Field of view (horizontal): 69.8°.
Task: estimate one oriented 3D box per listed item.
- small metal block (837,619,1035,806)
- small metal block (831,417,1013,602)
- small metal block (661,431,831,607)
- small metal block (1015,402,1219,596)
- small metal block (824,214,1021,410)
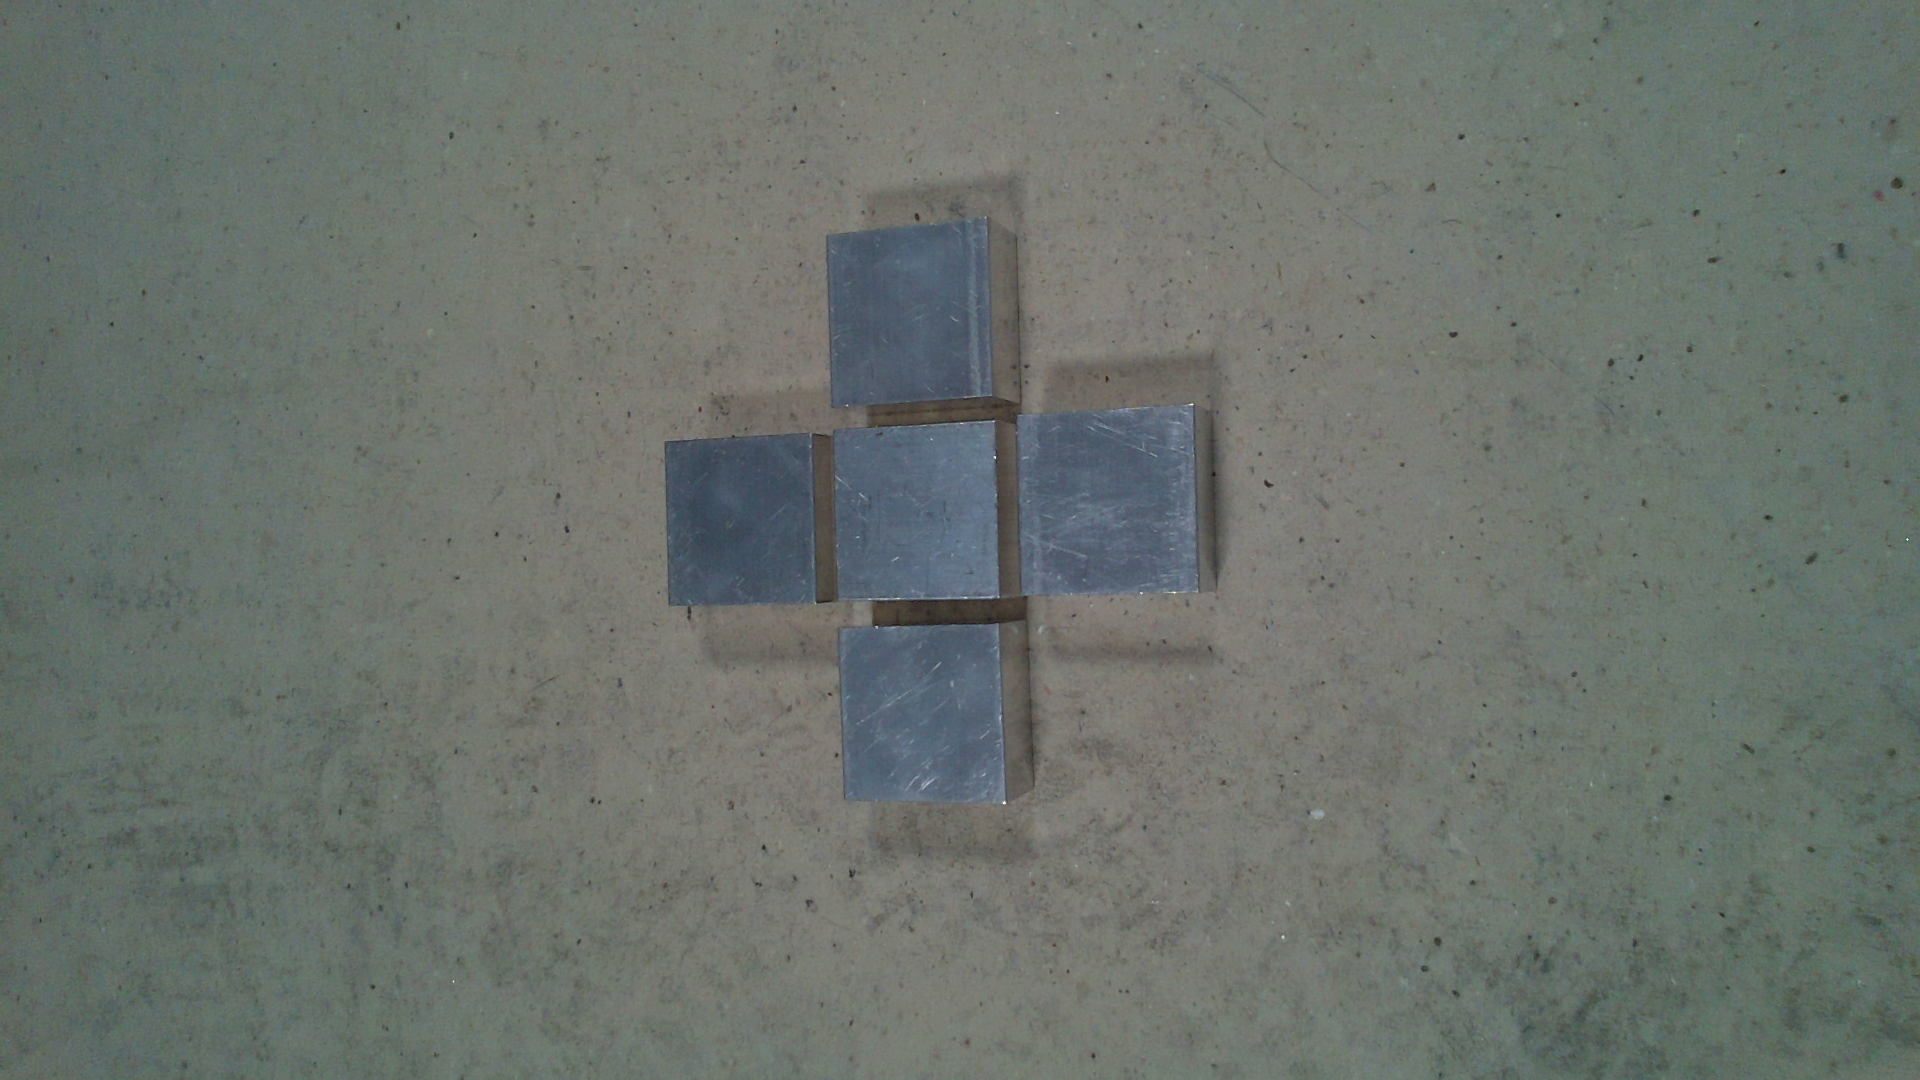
[{"bbox_3d":[-0.007,0.049,0.399,0.050,0.025,0.050,-2,89,20],"label":"small metal block"},{"bbox_3d":[-0.009,-0.008,0.399,0.050,0.025,0.050,-2,89,20],"label":"small metal block"},{"bbox_3d":[-0.062,-0.006,0.418,0.050,0.025,0.050,-2,89,20],"label":"small metal block"},{"bbox_3d":[0.044,-0.010,0.380,0.050,0.025,0.050,-2,89,20],"label":"small metal block"},{"bbox_3d":[-0.011,-0.064,0.400,0.050,0.025,0.050,-2,89,20],"label":"small metal block"}]
